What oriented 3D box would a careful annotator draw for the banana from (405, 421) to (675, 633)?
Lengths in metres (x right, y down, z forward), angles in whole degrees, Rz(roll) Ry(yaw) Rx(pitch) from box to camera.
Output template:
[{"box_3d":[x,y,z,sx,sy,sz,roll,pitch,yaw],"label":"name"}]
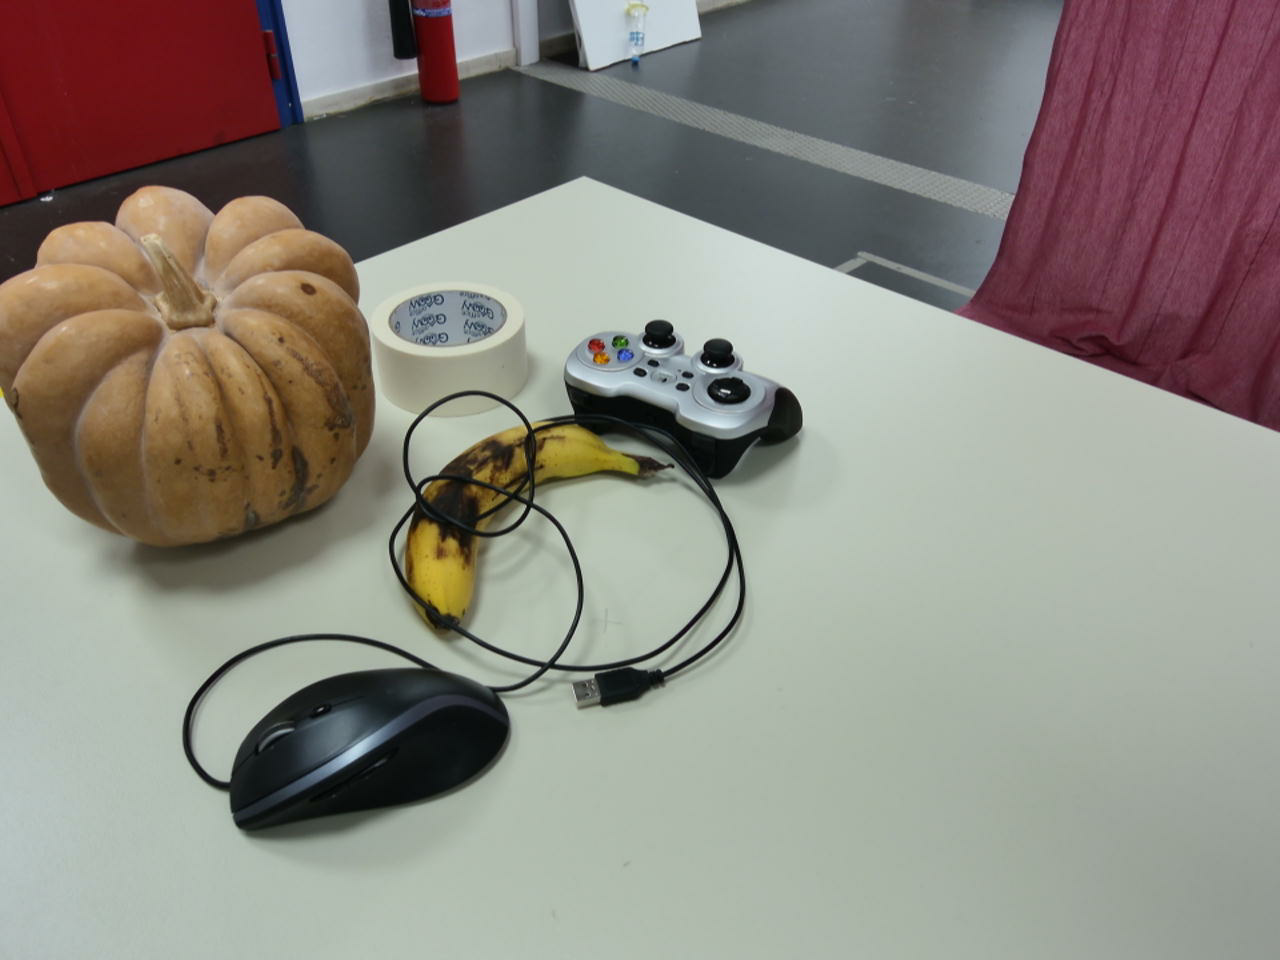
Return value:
[{"box_3d":[-0.076,0.012,0.582,0.094,0.039,0.187,27,44,30],"label":"banana"}]
